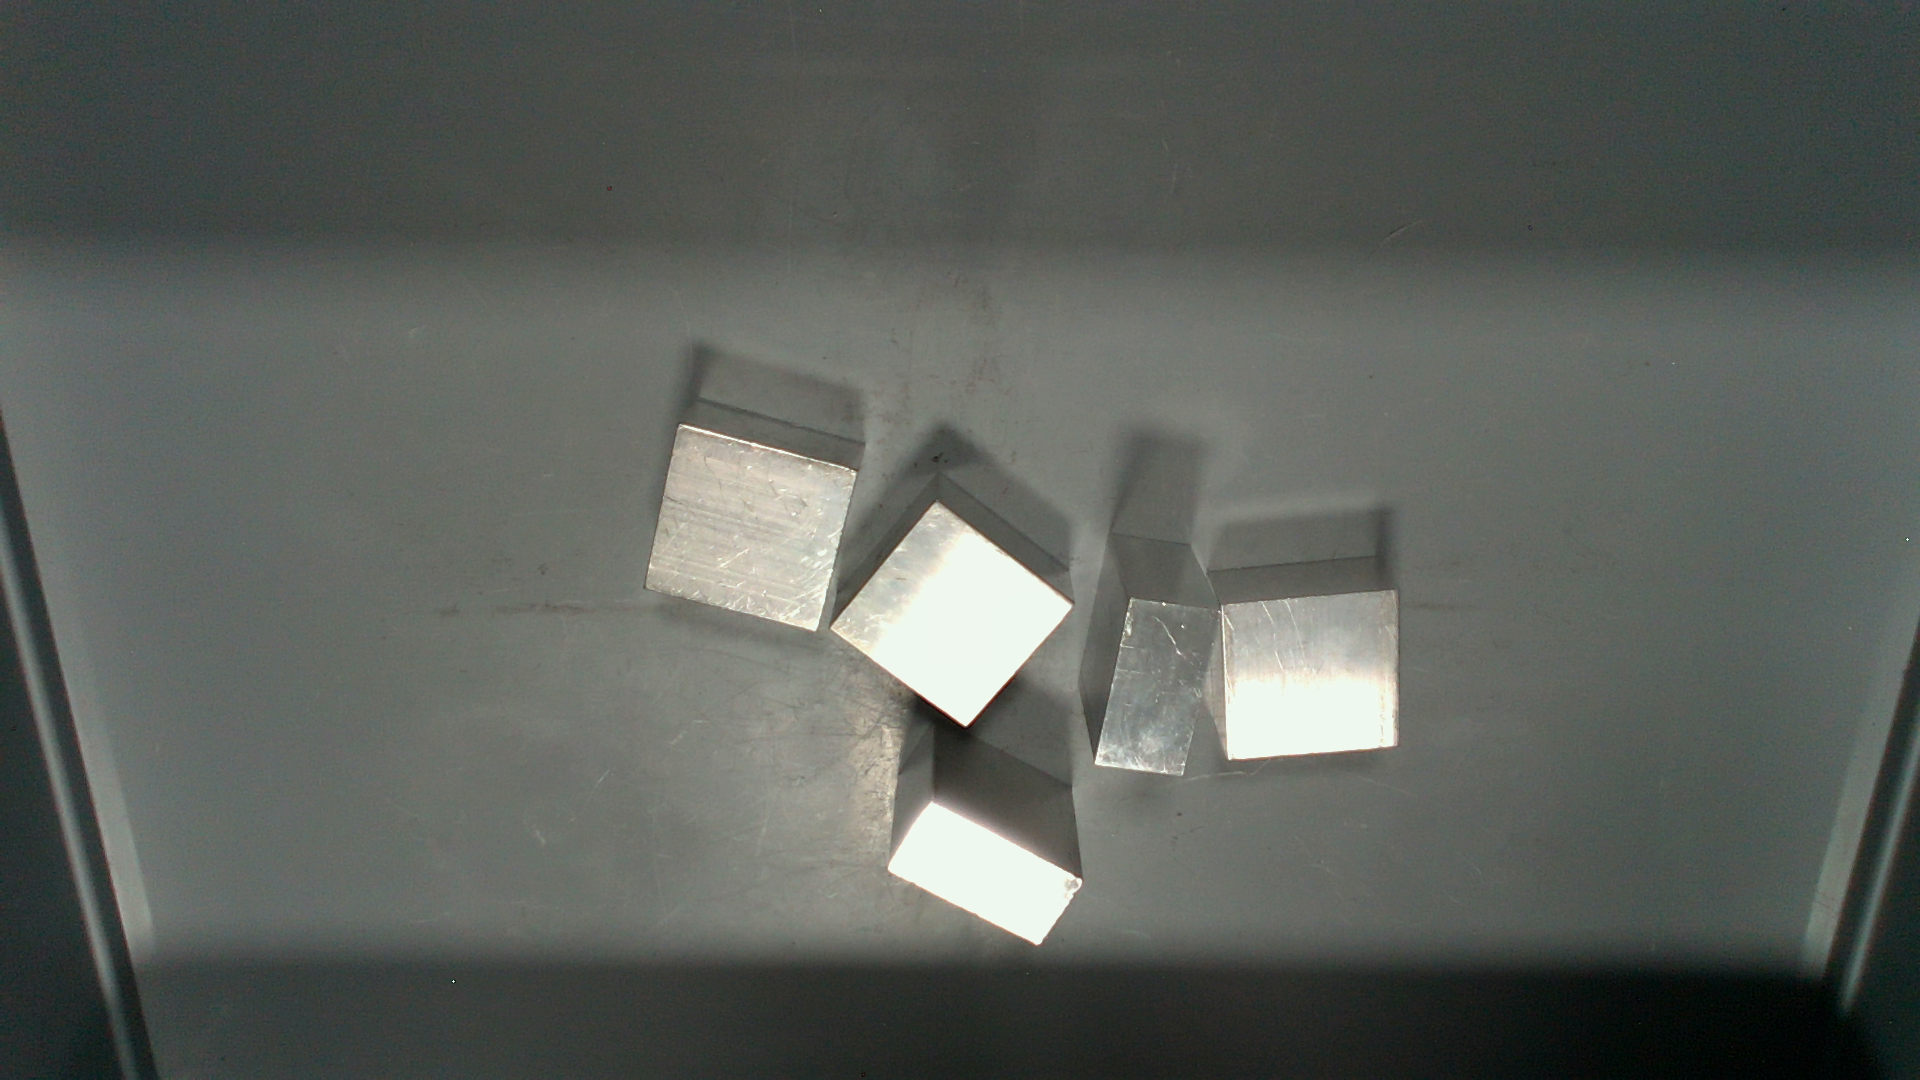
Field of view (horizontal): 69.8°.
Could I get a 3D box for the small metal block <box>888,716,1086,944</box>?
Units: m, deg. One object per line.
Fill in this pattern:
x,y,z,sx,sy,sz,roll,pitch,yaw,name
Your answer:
0.008,0.085,0.410,0.050,0.050,0.025,29,109,-11,small metal block

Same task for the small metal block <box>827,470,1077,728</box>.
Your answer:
-0.002,0.017,0.398,0.050,0.025,0.050,37,106,-13,small metal block

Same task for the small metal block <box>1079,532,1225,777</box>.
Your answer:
0.053,0.031,0.391,0.025,0.050,0.050,9,110,-4,small metal block

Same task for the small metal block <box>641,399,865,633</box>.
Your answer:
-0.058,-0.007,0.389,0.050,0.025,0.050,14,110,-5,small metal block

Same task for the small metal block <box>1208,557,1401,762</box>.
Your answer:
0.101,0.035,0.405,0.050,0.025,0.050,-5,110,2,small metal block
